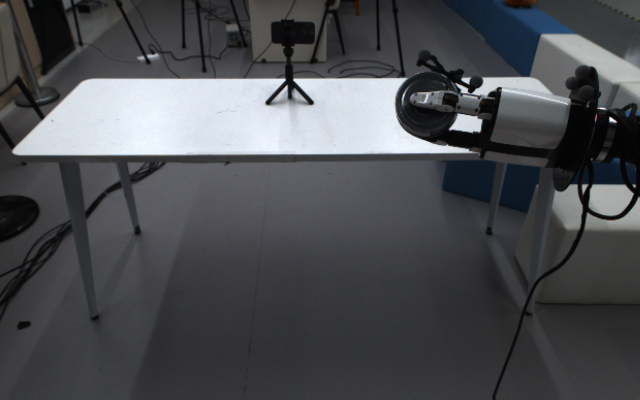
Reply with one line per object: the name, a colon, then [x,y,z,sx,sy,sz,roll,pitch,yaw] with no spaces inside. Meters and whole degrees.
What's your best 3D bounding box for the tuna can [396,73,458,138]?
tuna can: [0.150,-0.125,0.659,0.085,0.085,0.034,13,-4,15]
